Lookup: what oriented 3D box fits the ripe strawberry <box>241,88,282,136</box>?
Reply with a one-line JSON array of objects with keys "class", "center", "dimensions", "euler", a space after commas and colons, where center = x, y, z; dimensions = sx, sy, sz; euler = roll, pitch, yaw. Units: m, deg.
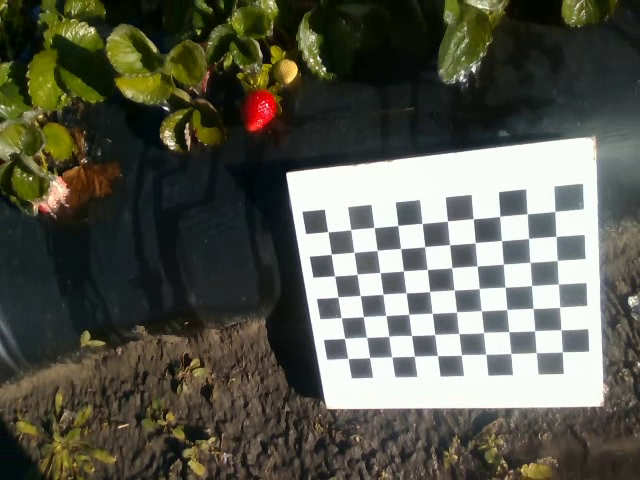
[{"class": "ripe strawberry", "center": [-0.048, -0.098, 0.505], "dimensions": [0.039, 0.039, 0.040], "euler": [-12, -51, 28]}]
